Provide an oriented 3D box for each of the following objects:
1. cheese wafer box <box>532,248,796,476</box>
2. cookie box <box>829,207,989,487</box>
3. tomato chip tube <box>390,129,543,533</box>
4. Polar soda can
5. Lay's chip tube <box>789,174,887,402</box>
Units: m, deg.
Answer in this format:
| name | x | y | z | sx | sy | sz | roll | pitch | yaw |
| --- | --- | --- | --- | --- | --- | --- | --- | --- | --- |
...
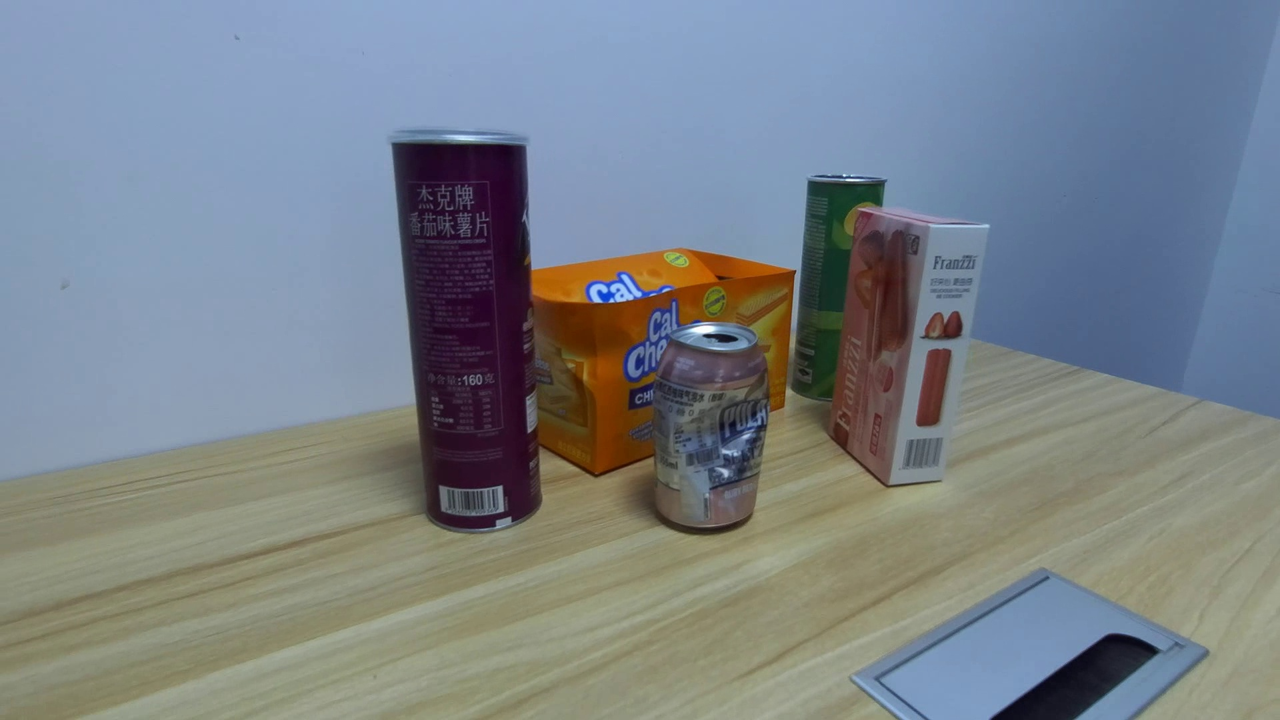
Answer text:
| name | x | y | z | sx | sy | sz | roll | pitch | yaw |
| --- | --- | --- | --- | --- | --- | --- | --- | --- | --- |
| cheese wafer box | 0.005 | -0.010 | 0.602 | 0.231 | 0.132 | 0.151 | -14 | 24 | -38 |
| cookie box | 0.190 | -0.012 | 0.517 | 0.048 | 0.184 | 0.096 | -2 | 18 | -13 |
| tomato chip tube | -0.103 | -0.015 | 0.437 | 0.078 | 0.234 | 0.078 | 1 | 18 | 0 |
| Polar soda can | 0.045 | 0.043 | 0.447 | 0.074 | 0.122 | 0.067 | 1 | 18 | 1 |
| Lay's chip tube | 0.182 | -0.066 | 0.651 | 0.071 | 0.202 | 0.071 | 2 | 16 | 0 |
